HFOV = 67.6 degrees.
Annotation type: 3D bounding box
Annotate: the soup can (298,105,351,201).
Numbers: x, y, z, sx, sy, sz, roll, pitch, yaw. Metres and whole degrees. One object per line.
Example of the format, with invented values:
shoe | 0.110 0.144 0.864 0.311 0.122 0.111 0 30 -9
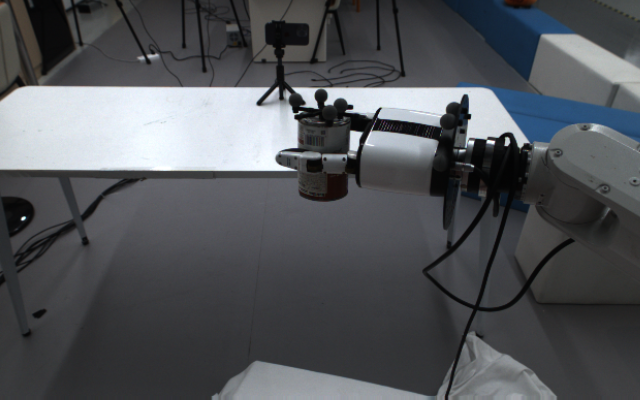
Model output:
soup can | 0.006 -0.057 0.619 0.067 0.101 0.067 1 25 0
